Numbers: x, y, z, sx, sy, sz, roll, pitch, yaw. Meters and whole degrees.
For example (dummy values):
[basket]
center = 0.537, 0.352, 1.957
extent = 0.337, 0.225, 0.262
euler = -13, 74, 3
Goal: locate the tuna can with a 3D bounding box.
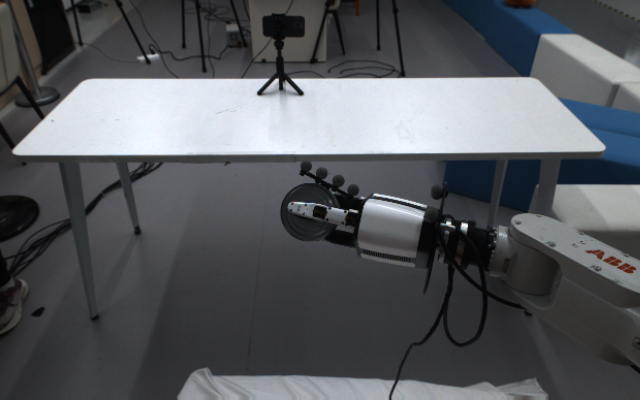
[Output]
[tuna can]
center = -0.012, 0.019, 0.715
extent = 0.085, 0.085, 0.034
euler = 10, -4, 11
